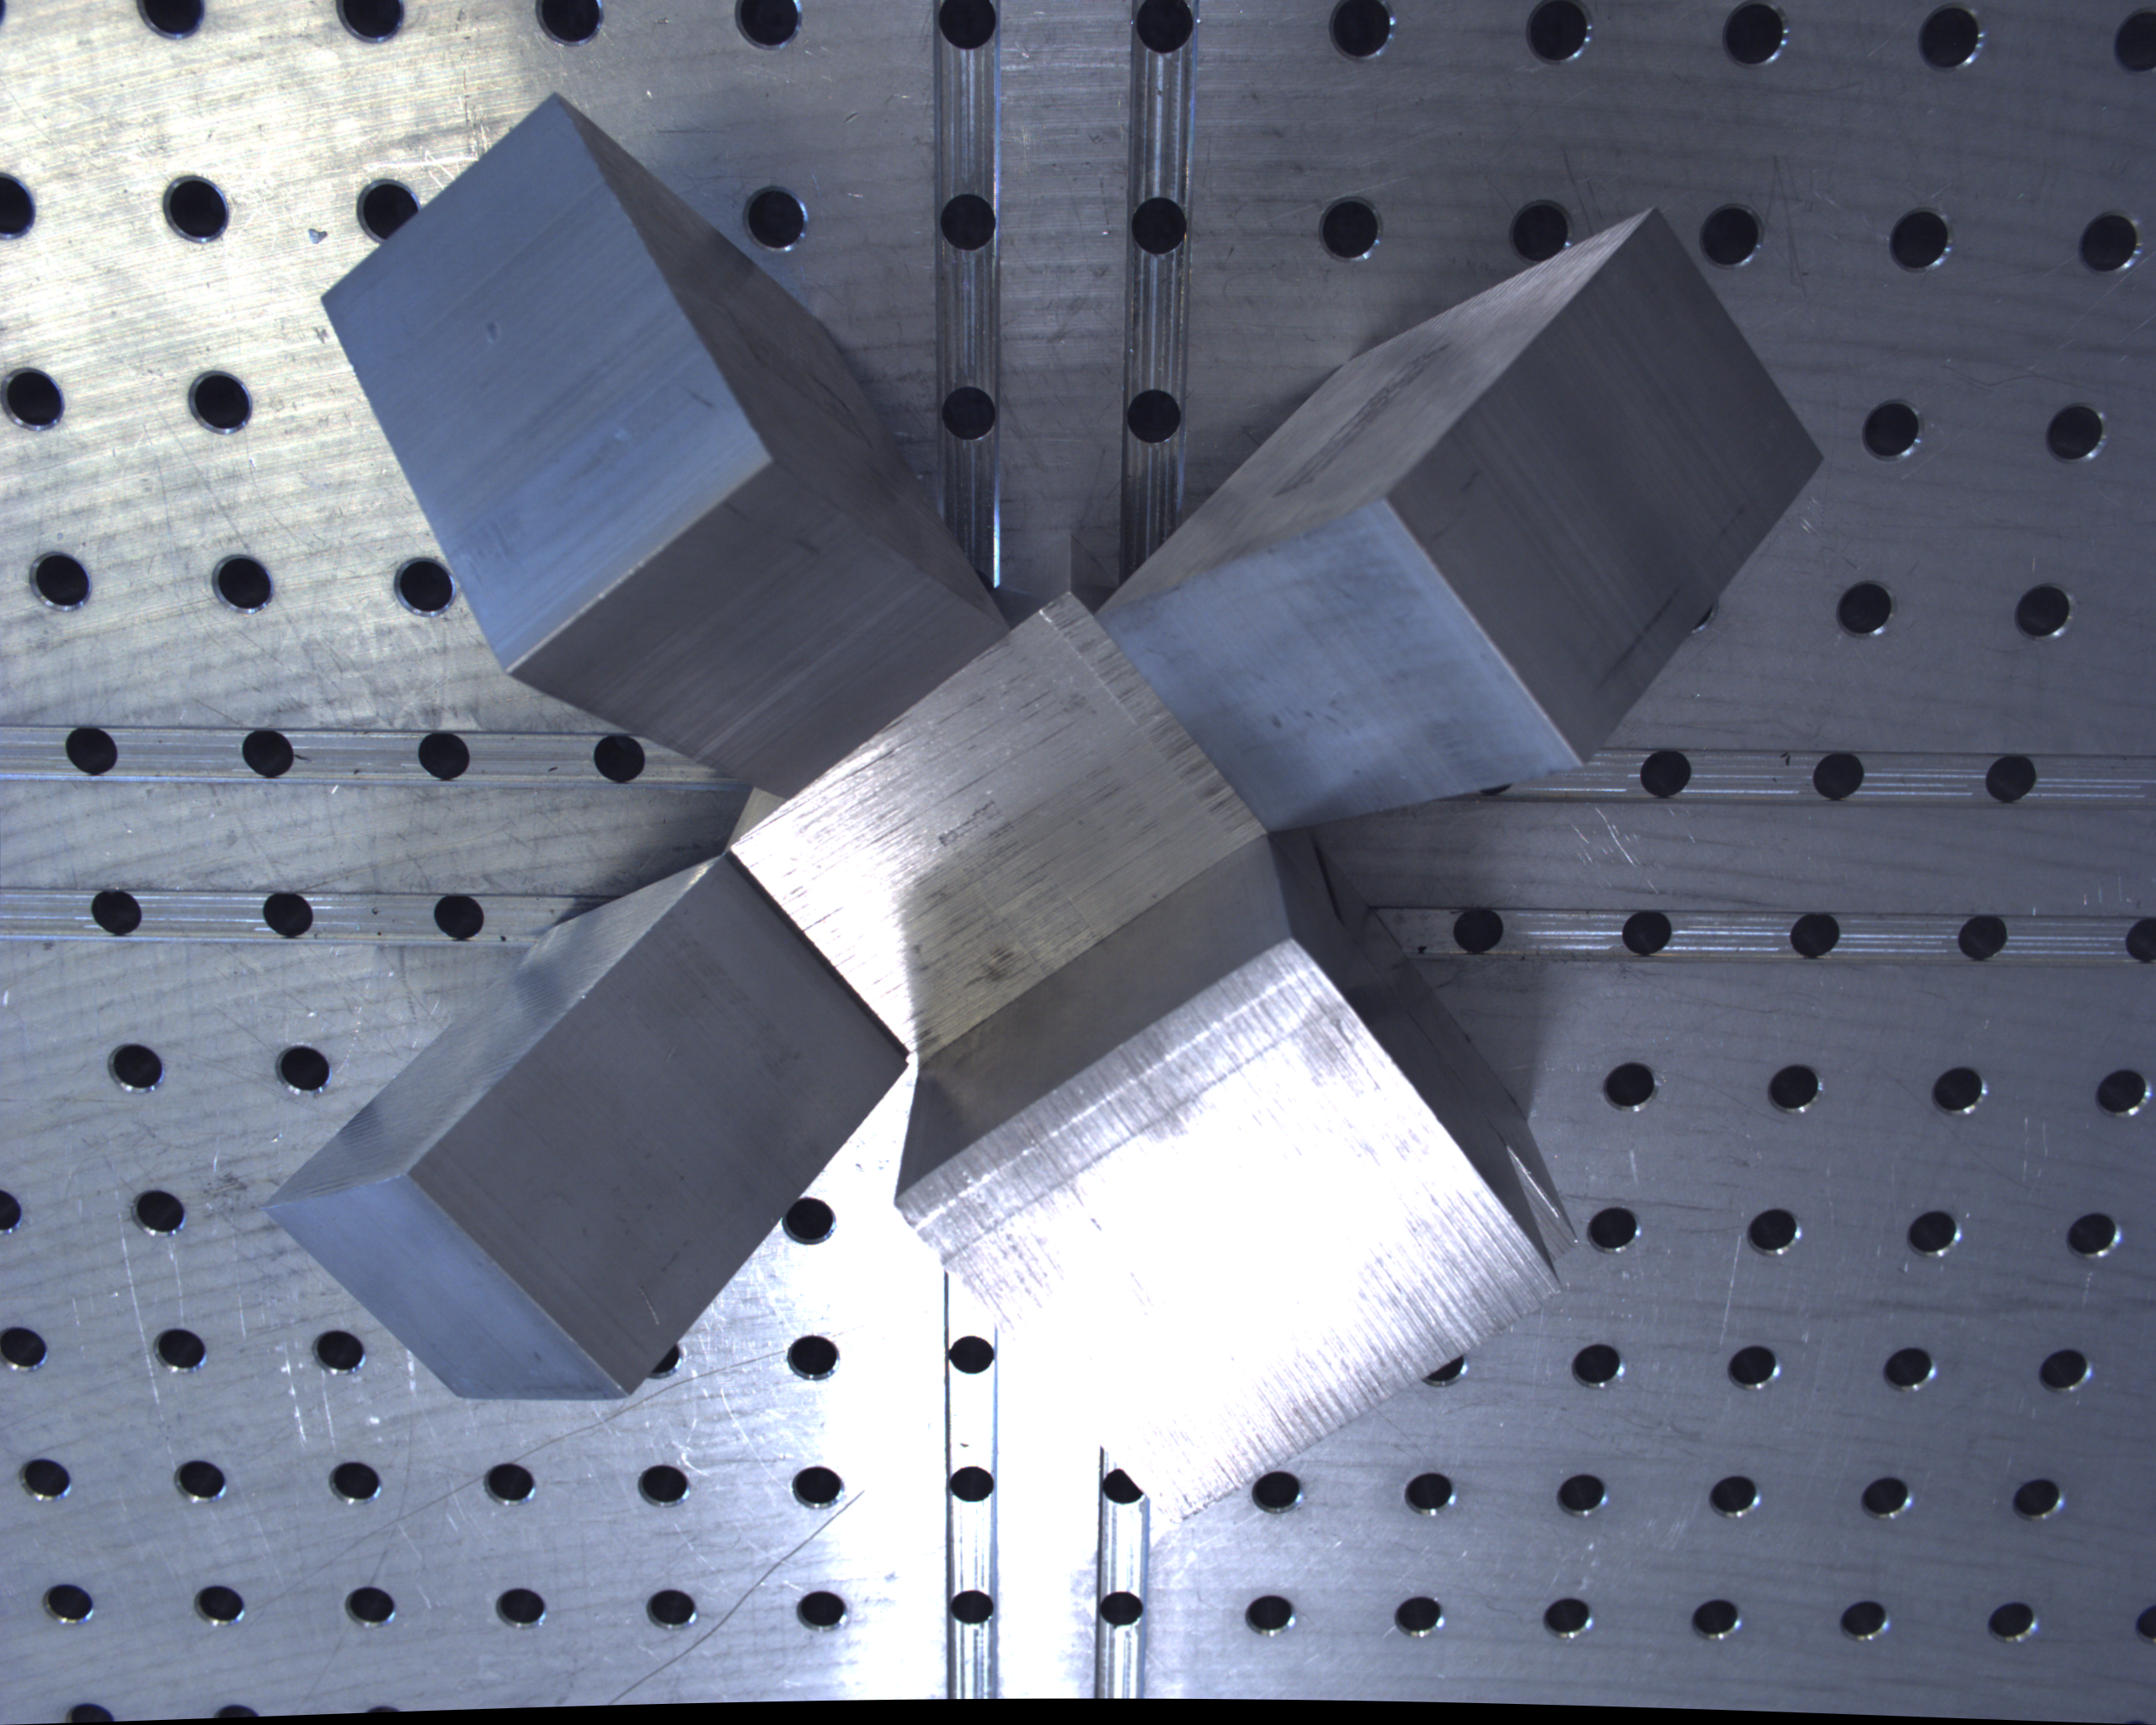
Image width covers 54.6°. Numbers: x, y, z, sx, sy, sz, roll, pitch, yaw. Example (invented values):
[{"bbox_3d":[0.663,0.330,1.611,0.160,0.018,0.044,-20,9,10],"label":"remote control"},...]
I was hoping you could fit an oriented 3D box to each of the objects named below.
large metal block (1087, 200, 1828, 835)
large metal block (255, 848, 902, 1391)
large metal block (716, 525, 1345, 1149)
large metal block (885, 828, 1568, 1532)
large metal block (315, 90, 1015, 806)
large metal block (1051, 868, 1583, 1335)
[{"bbox_3d":[0.062,-0.054,0.348,0.050,0.080,0.080,50,63,-16],"label":"large metal block"},{"bbox_3d":[-0.093,0.049,0.385,0.050,0.080,0.080,51,144,-15],"label":"large metal block"},{"bbox_3d":[-0.008,-0.004,0.398,0.080,0.050,0.080,-36,106,12],"label":"large metal block"},{"bbox_3d":[0.025,0.055,0.366,0.080,0.050,0.080,-36,107,11],"label":"large metal block"},{"bbox_3d":[-0.065,-0.064,0.344,0.050,0.080,0.080,-36,67,12],"label":"large metal block"},{"bbox_3d":[0.041,0.057,0.420,0.080,0.050,0.080,-35,105,11],"label":"large metal block"}]
